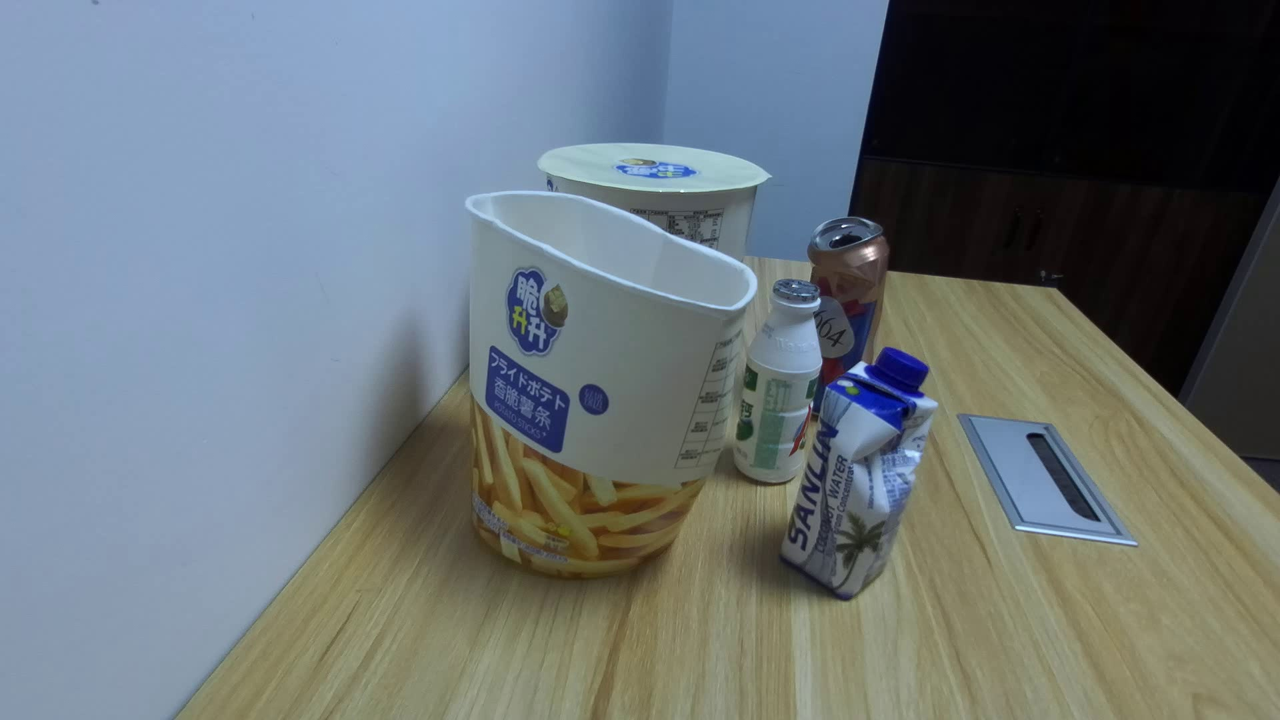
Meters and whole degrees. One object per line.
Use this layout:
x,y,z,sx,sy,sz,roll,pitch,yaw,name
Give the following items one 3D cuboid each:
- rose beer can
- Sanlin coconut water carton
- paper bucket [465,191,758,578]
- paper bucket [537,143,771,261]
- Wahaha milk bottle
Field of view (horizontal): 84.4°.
0.168,-0.032,0.593,0.069,0.168,0.070,12,32,21,rose beer can
0.130,0.065,0.414,0.070,0.143,0.060,-19,35,-40,Sanlin coconut water carton
-0.034,0.010,0.440,0.217,0.199,0.148,14,28,20,paper bucket
0.004,-0.075,0.624,0.198,0.194,0.198,3,27,-1,paper bucket
0.100,0.016,0.501,0.053,0.147,0.053,3,27,-1,Wahaha milk bottle
